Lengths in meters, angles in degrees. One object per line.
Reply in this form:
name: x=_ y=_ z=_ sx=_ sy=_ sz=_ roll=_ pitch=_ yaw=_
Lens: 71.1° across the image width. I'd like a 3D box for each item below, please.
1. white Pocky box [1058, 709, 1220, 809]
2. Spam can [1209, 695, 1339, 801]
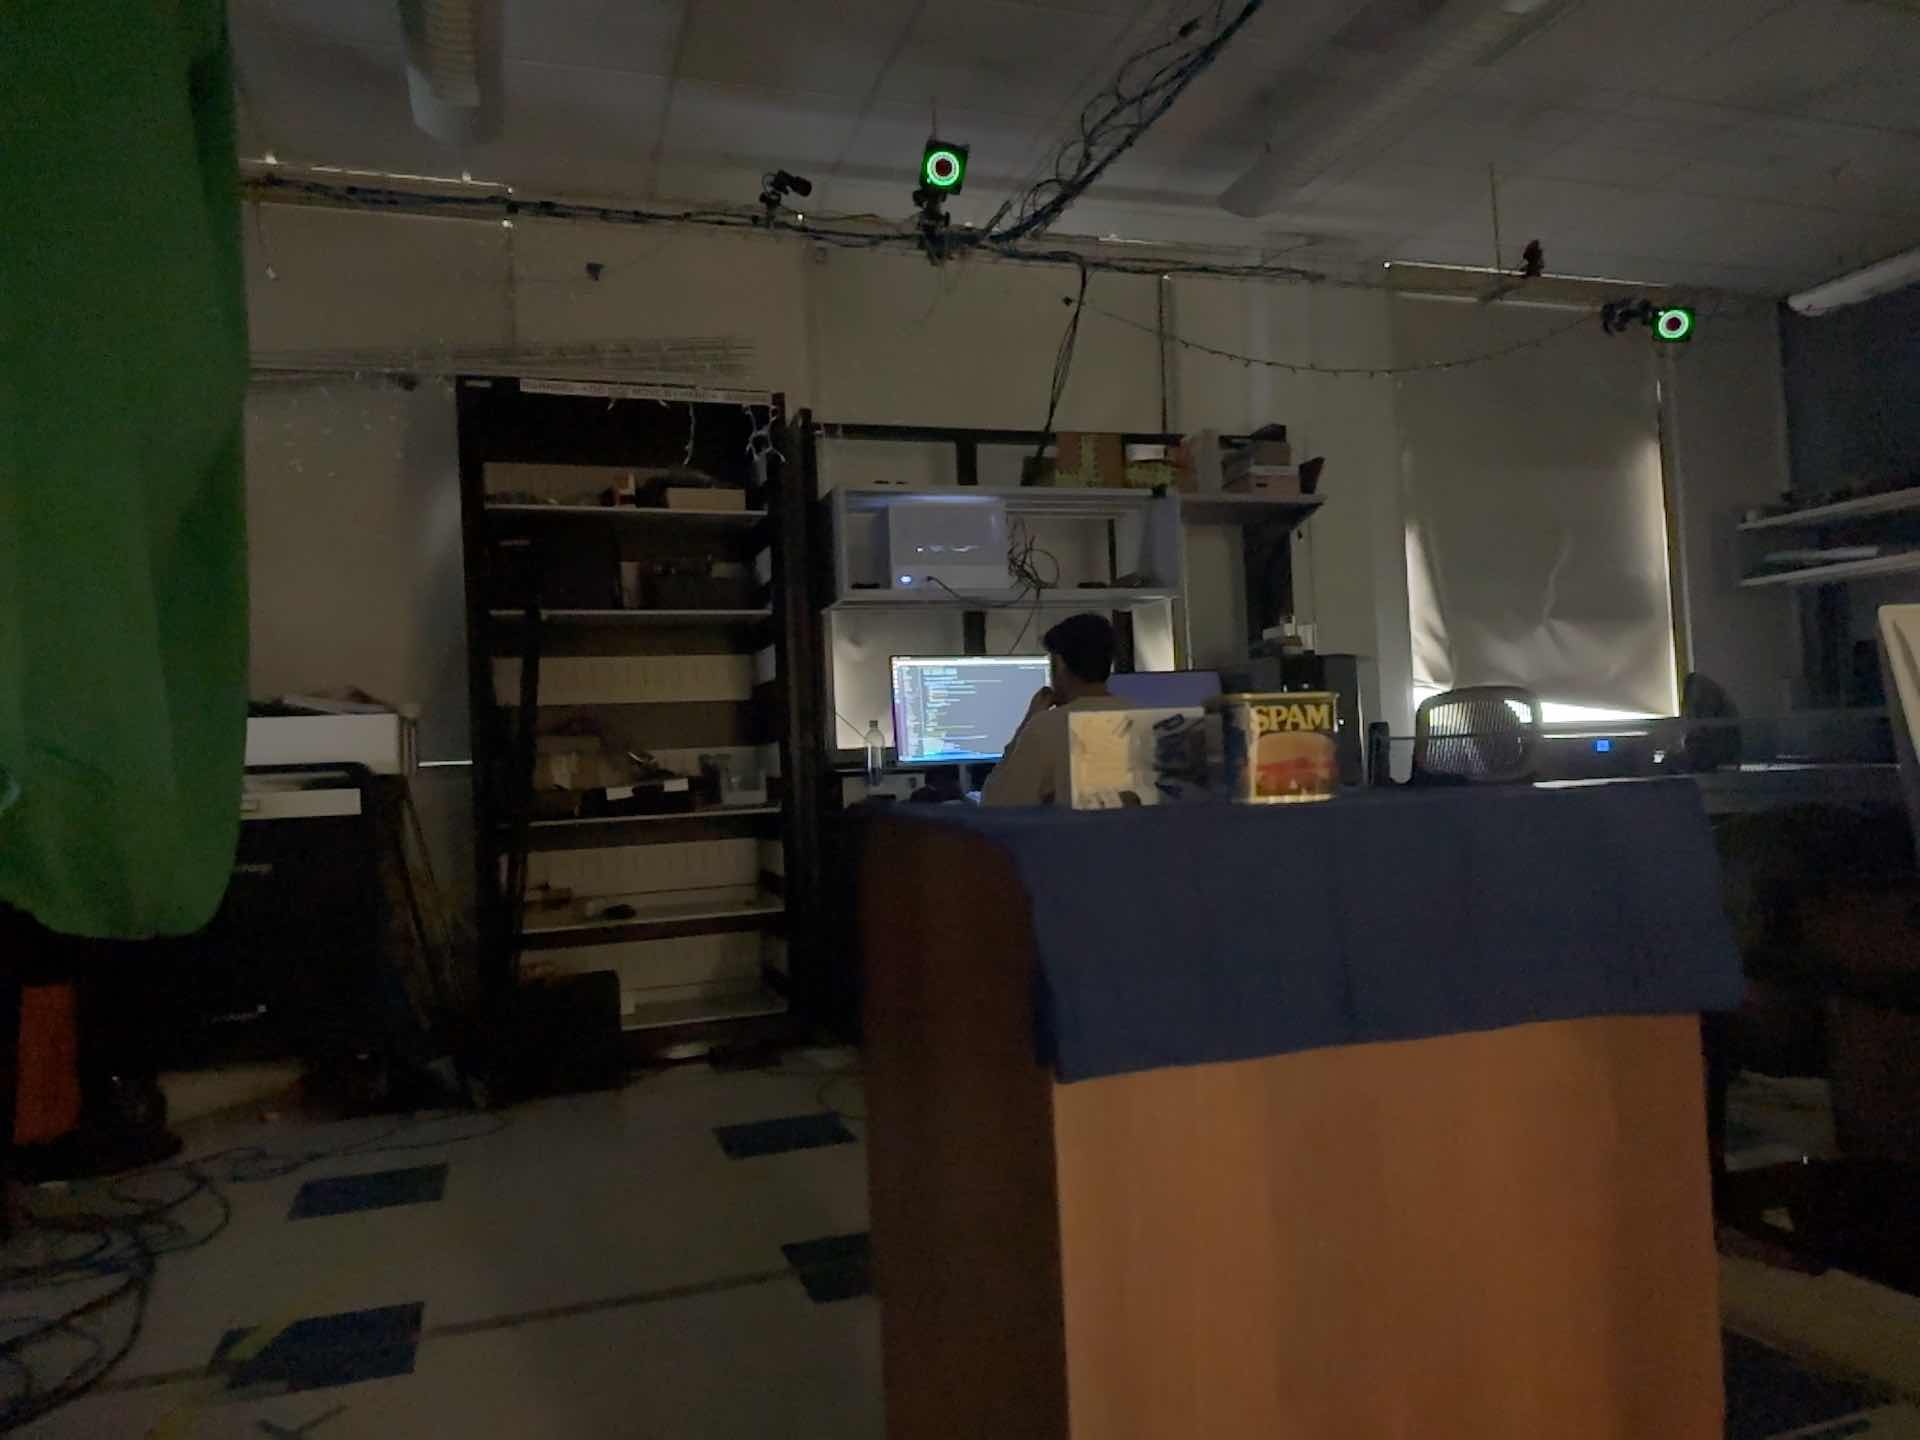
white Pocky box: x=0.166 y=0.033 z=1.196 sx=0.154 sy=0.084 sz=0.028 roll=-2 pitch=-3 yaw=-7
Spam can: x=0.260 y=0.023 z=1.112 sx=0.100 sy=0.083 sz=0.056 roll=0 pitch=-4 yaw=-16
